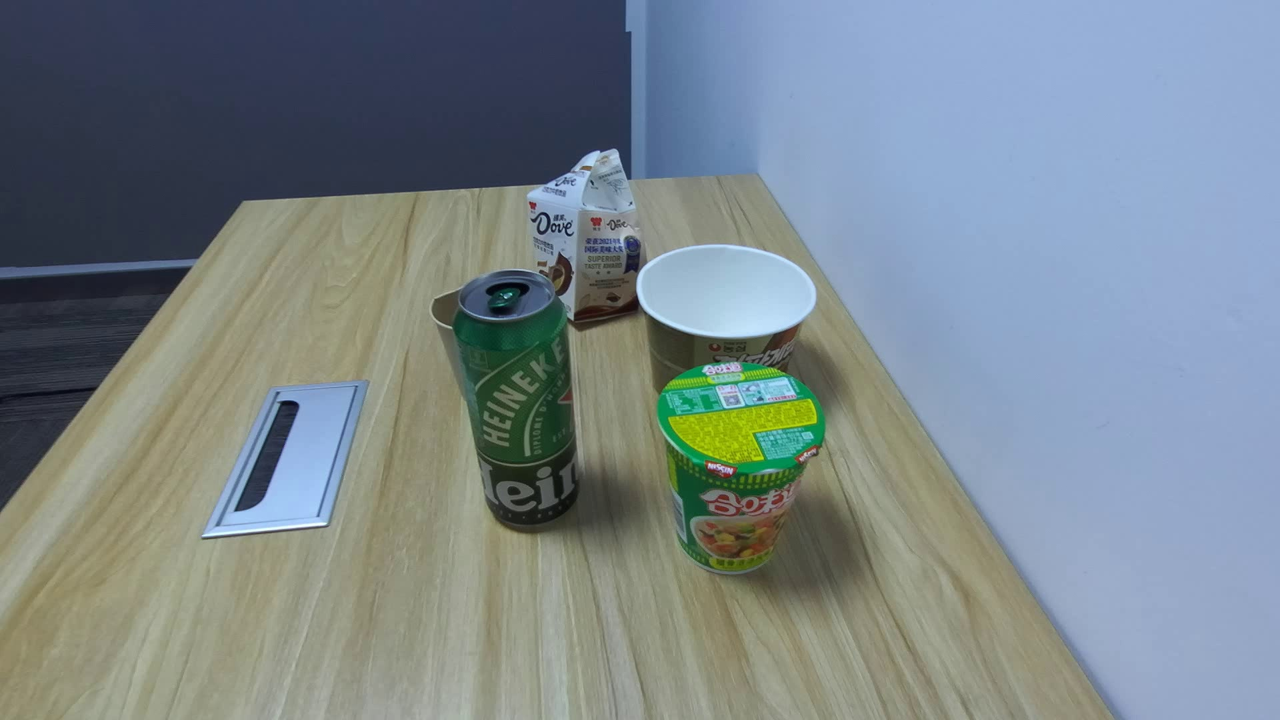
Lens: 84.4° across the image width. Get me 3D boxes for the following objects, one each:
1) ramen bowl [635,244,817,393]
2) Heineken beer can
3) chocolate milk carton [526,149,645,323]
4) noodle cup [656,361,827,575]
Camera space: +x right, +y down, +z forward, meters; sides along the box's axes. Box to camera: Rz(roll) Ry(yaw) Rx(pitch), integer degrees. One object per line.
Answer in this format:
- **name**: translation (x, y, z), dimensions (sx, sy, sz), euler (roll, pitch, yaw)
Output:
- **ramen bowl**: translation (0.067, -0.021, 0.579), dimensions (0.140, 0.095, 0.140), euler (0, 38, 0)
- **Heineken beer can**: translation (-0.076, 0.030, 0.453), dimensions (0.067, 0.169, 0.067), euler (0, 36, 1)
- **chocolate milk carton**: translation (-0.051, -0.117, 0.666), dimensions (0.077, 0.155, 0.089), euler (-19, 27, -30)
- **noodle cup**: translation (0.057, 0.073, 0.442), dimensions (0.097, 0.110, 0.097), euler (1, 38, 0)
